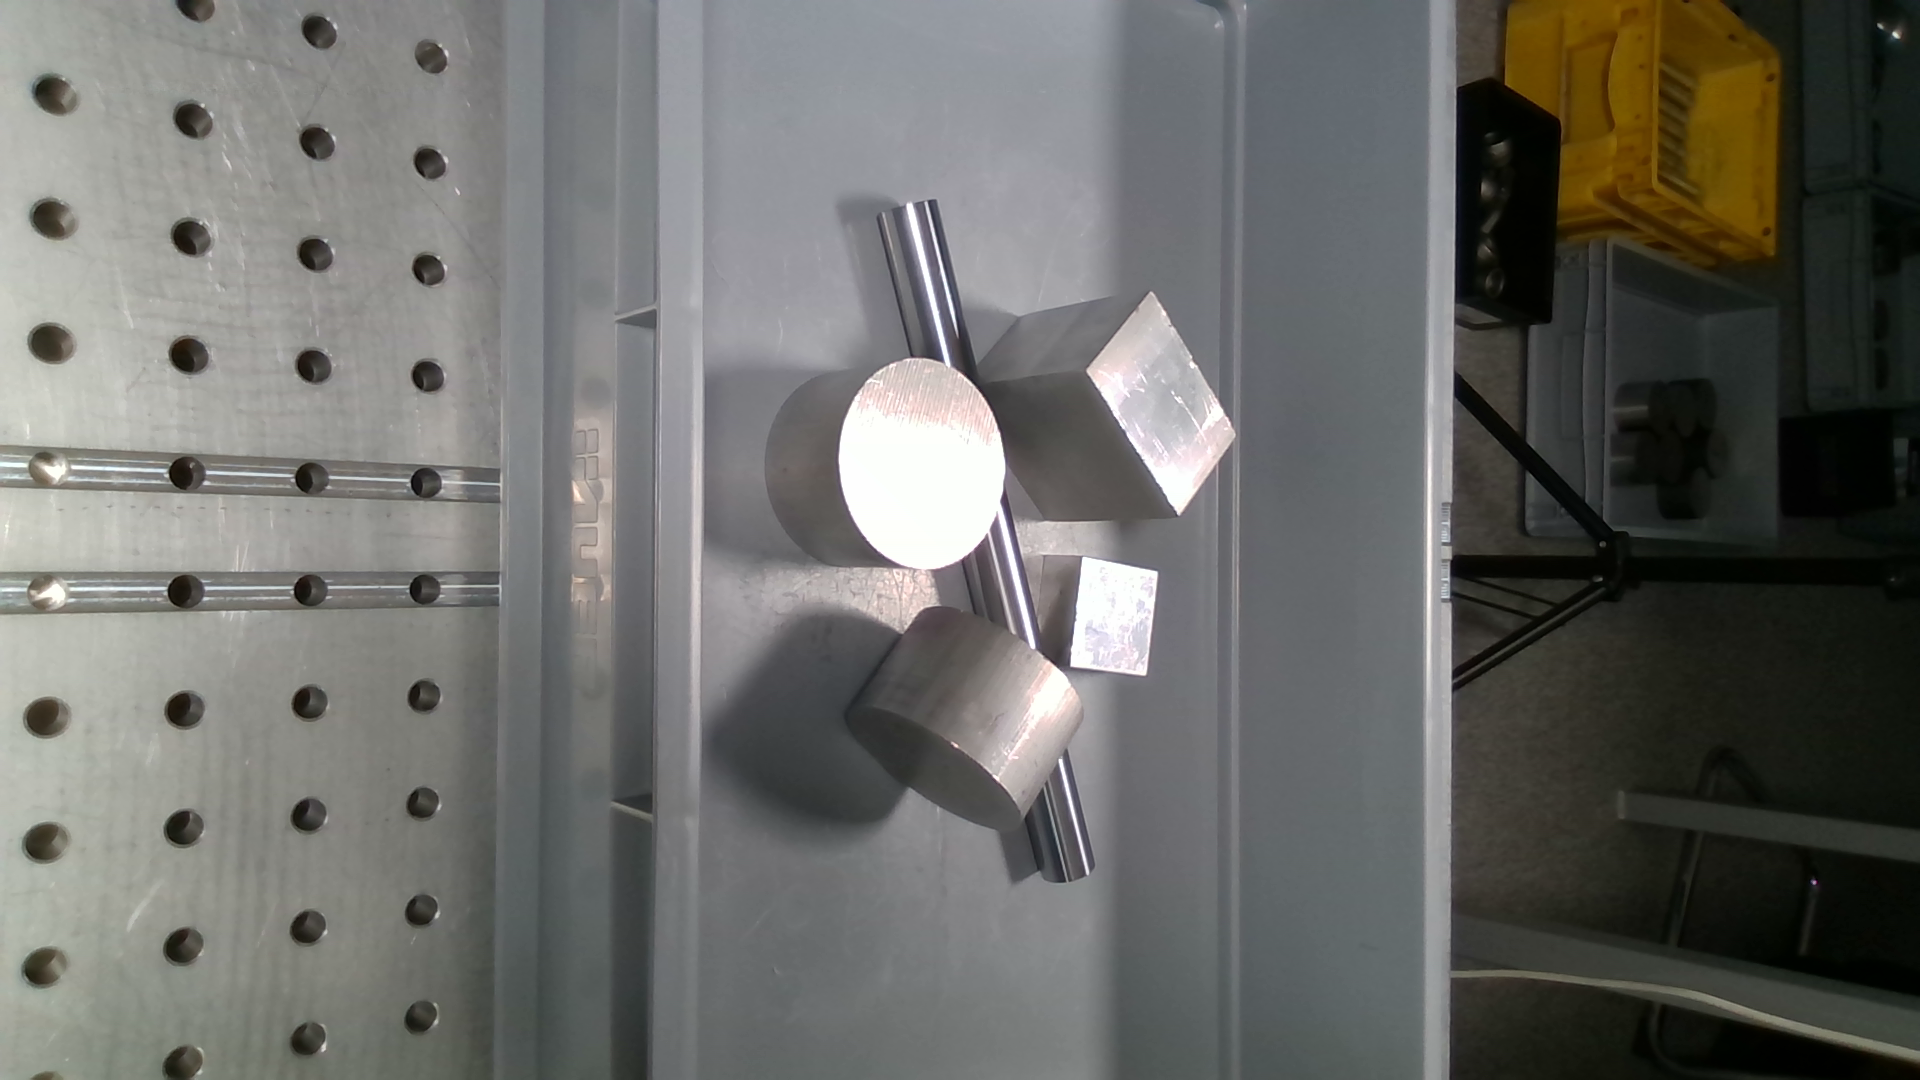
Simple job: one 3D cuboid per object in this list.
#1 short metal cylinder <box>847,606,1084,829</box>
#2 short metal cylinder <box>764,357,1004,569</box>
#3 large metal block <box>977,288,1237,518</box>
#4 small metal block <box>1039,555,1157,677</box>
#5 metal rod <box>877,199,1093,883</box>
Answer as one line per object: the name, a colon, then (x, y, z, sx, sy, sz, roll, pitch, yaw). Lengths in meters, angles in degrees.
short metal cylinder: (0.002, 0.071, 0.548, 0.080, 0.080, 0.050, 50, 60, -28)
short metal cylinder: (-0.029, -0.029, 0.540, 0.080, 0.050, 0.080, 0, 90, -40)
large metal block: (0.059, -0.056, 0.597, 0.050, 0.080, 0.080, -51, 120, -28)
small metal block: (0.062, 0.035, 0.635, 0.050, 0.025, 0.050, 11, 83, -40)
metal rod: (0.013, 0.006, 0.593, 0.025, 0.025, 0.300, -23, 105, -38)
